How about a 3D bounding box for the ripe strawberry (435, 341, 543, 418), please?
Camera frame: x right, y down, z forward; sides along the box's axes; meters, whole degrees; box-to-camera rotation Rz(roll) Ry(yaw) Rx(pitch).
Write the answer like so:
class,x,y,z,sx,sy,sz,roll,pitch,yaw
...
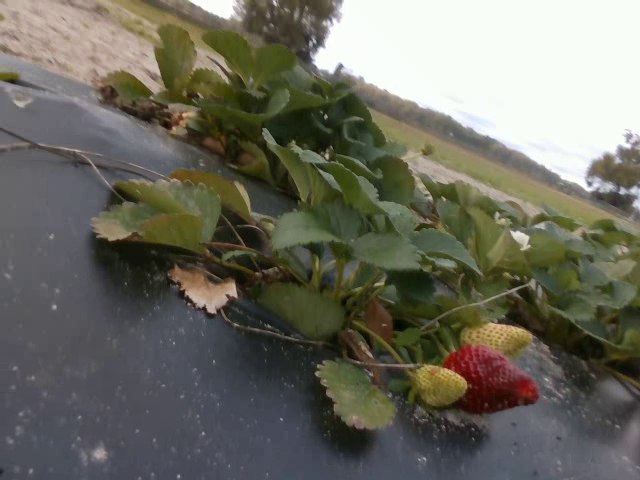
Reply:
class,x,y,z,sx,sy,sz,roll,pitch,yaw
ripe strawberry,0.096,0.079,0.332,0.047,0.045,0.059,4,-3,-37
